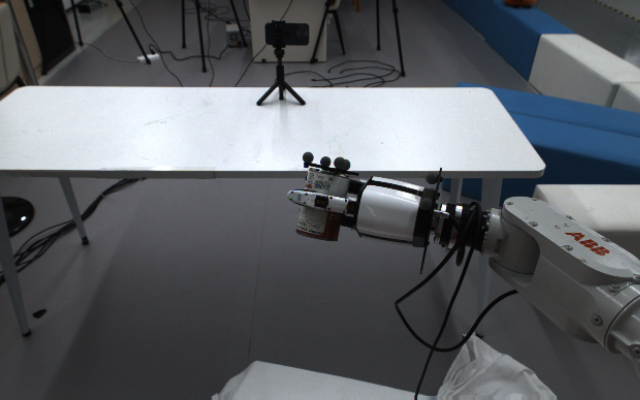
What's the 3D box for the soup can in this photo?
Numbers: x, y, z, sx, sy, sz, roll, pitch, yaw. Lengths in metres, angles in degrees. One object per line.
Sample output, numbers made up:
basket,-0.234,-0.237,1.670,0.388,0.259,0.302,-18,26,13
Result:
soup can,0.006,0.007,0.744,0.067,0.101,0.067,12,2,0
